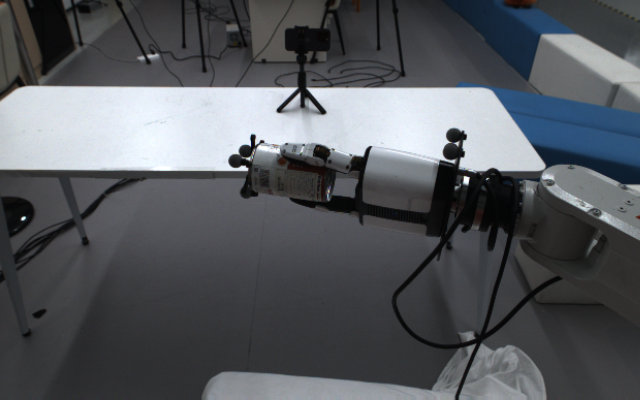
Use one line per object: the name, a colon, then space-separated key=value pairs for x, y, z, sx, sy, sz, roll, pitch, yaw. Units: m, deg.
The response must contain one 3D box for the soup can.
soup can: x=-0.032 y=-0.035 z=0.630 sx=0.101 sy=0.067 sz=0.067 roll=8 pitch=35 yaw=10
